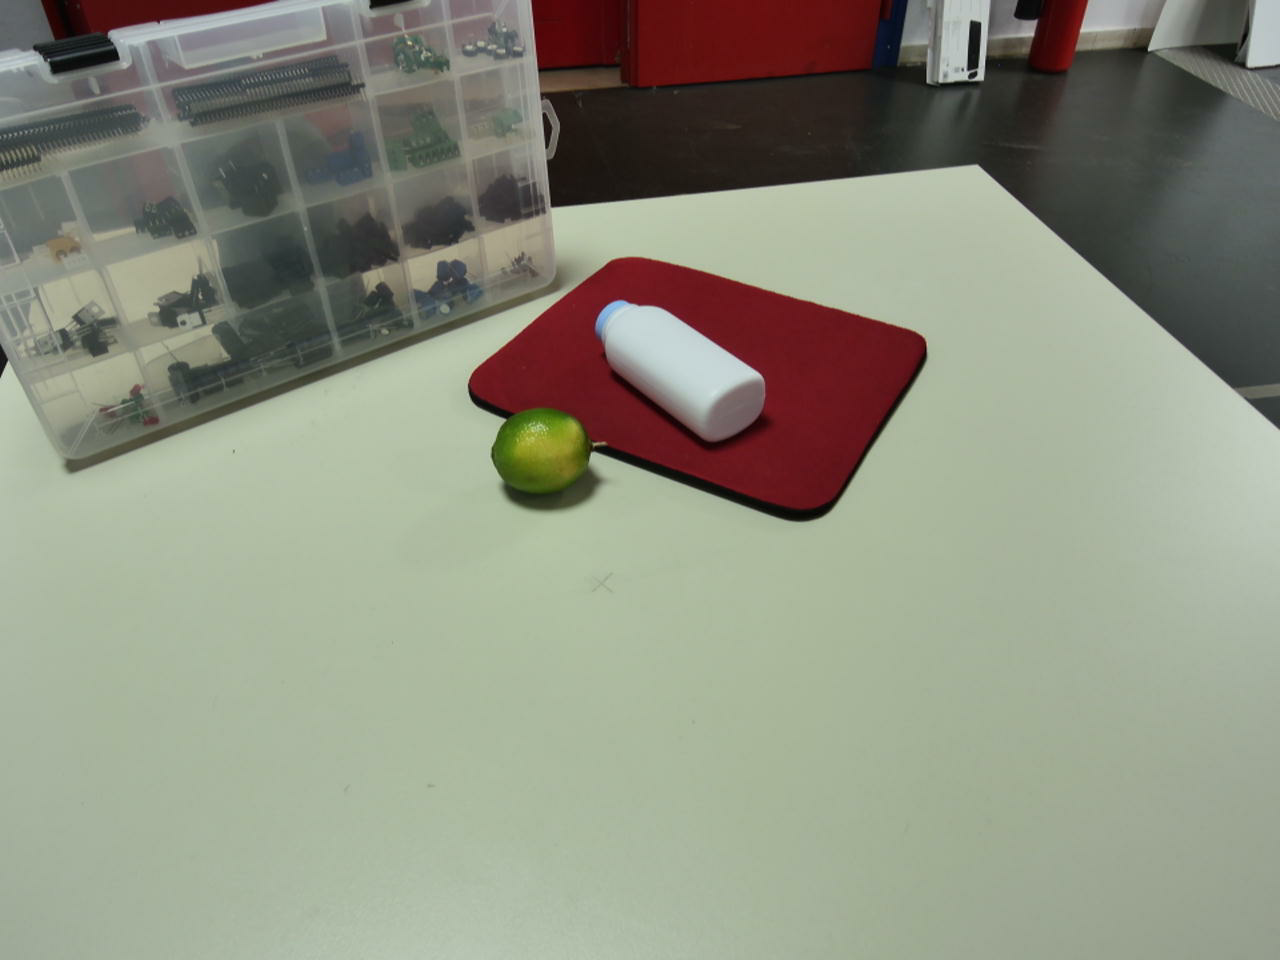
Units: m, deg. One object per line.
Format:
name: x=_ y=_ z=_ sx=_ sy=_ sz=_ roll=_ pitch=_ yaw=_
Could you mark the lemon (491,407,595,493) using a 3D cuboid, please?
lemon: x=-0.058 y=-0.018 z=0.594 sx=0.055 sy=0.050 sz=0.054 roll=27 pitch=45 yaw=28
